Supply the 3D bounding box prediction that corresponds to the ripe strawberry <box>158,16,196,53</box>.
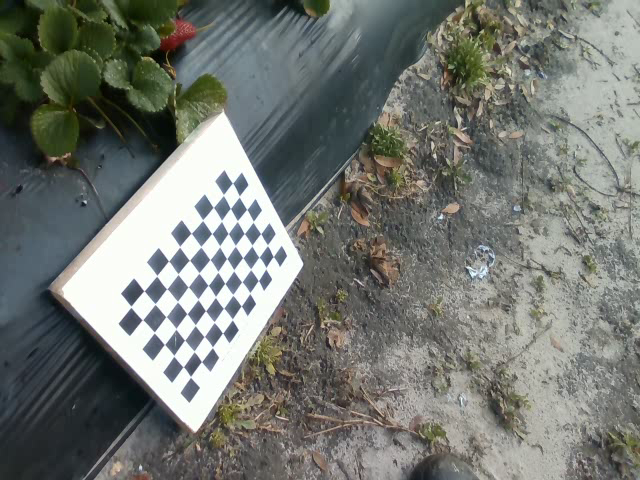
[{"bbox_3d":[-0.164,-0.240,0.741,0.043,0.050,0.064,5,15,35],"label":"ripe strawberry"}]
